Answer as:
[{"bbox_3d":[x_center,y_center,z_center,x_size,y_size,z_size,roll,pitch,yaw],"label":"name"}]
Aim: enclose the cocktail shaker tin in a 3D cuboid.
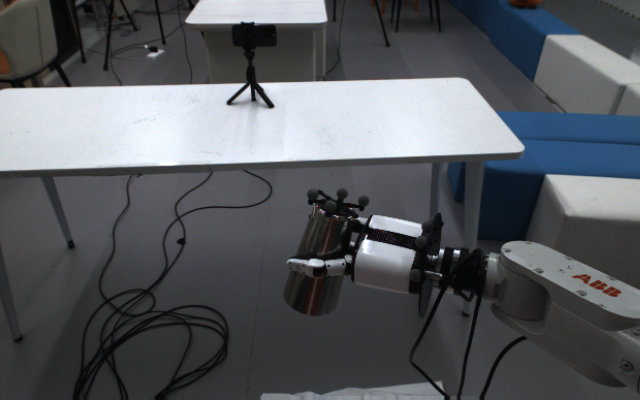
[{"bbox_3d":[0.005,0.085,0.767,0.093,0.170,0.093,12,24,-5],"label":"cocktail shaker tin"}]
